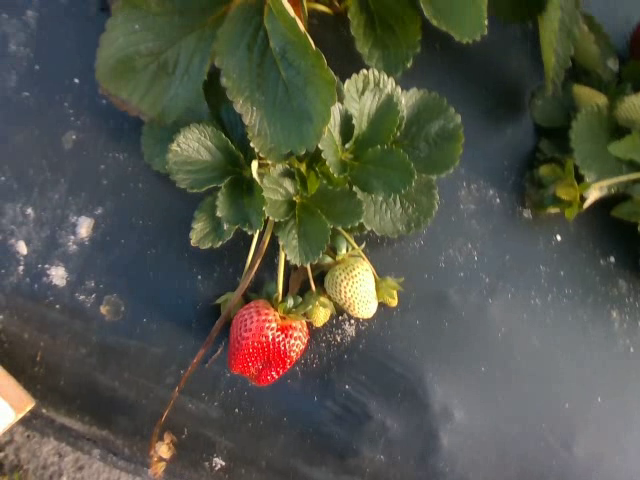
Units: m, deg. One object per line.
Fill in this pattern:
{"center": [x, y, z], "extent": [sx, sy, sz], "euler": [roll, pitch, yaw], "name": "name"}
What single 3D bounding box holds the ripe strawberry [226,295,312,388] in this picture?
{"center": [-0.032, 0.063, 0.349], "extent": [0.047, 0.050, 0.035], "euler": [27, 6, -4], "name": "ripe strawberry"}
